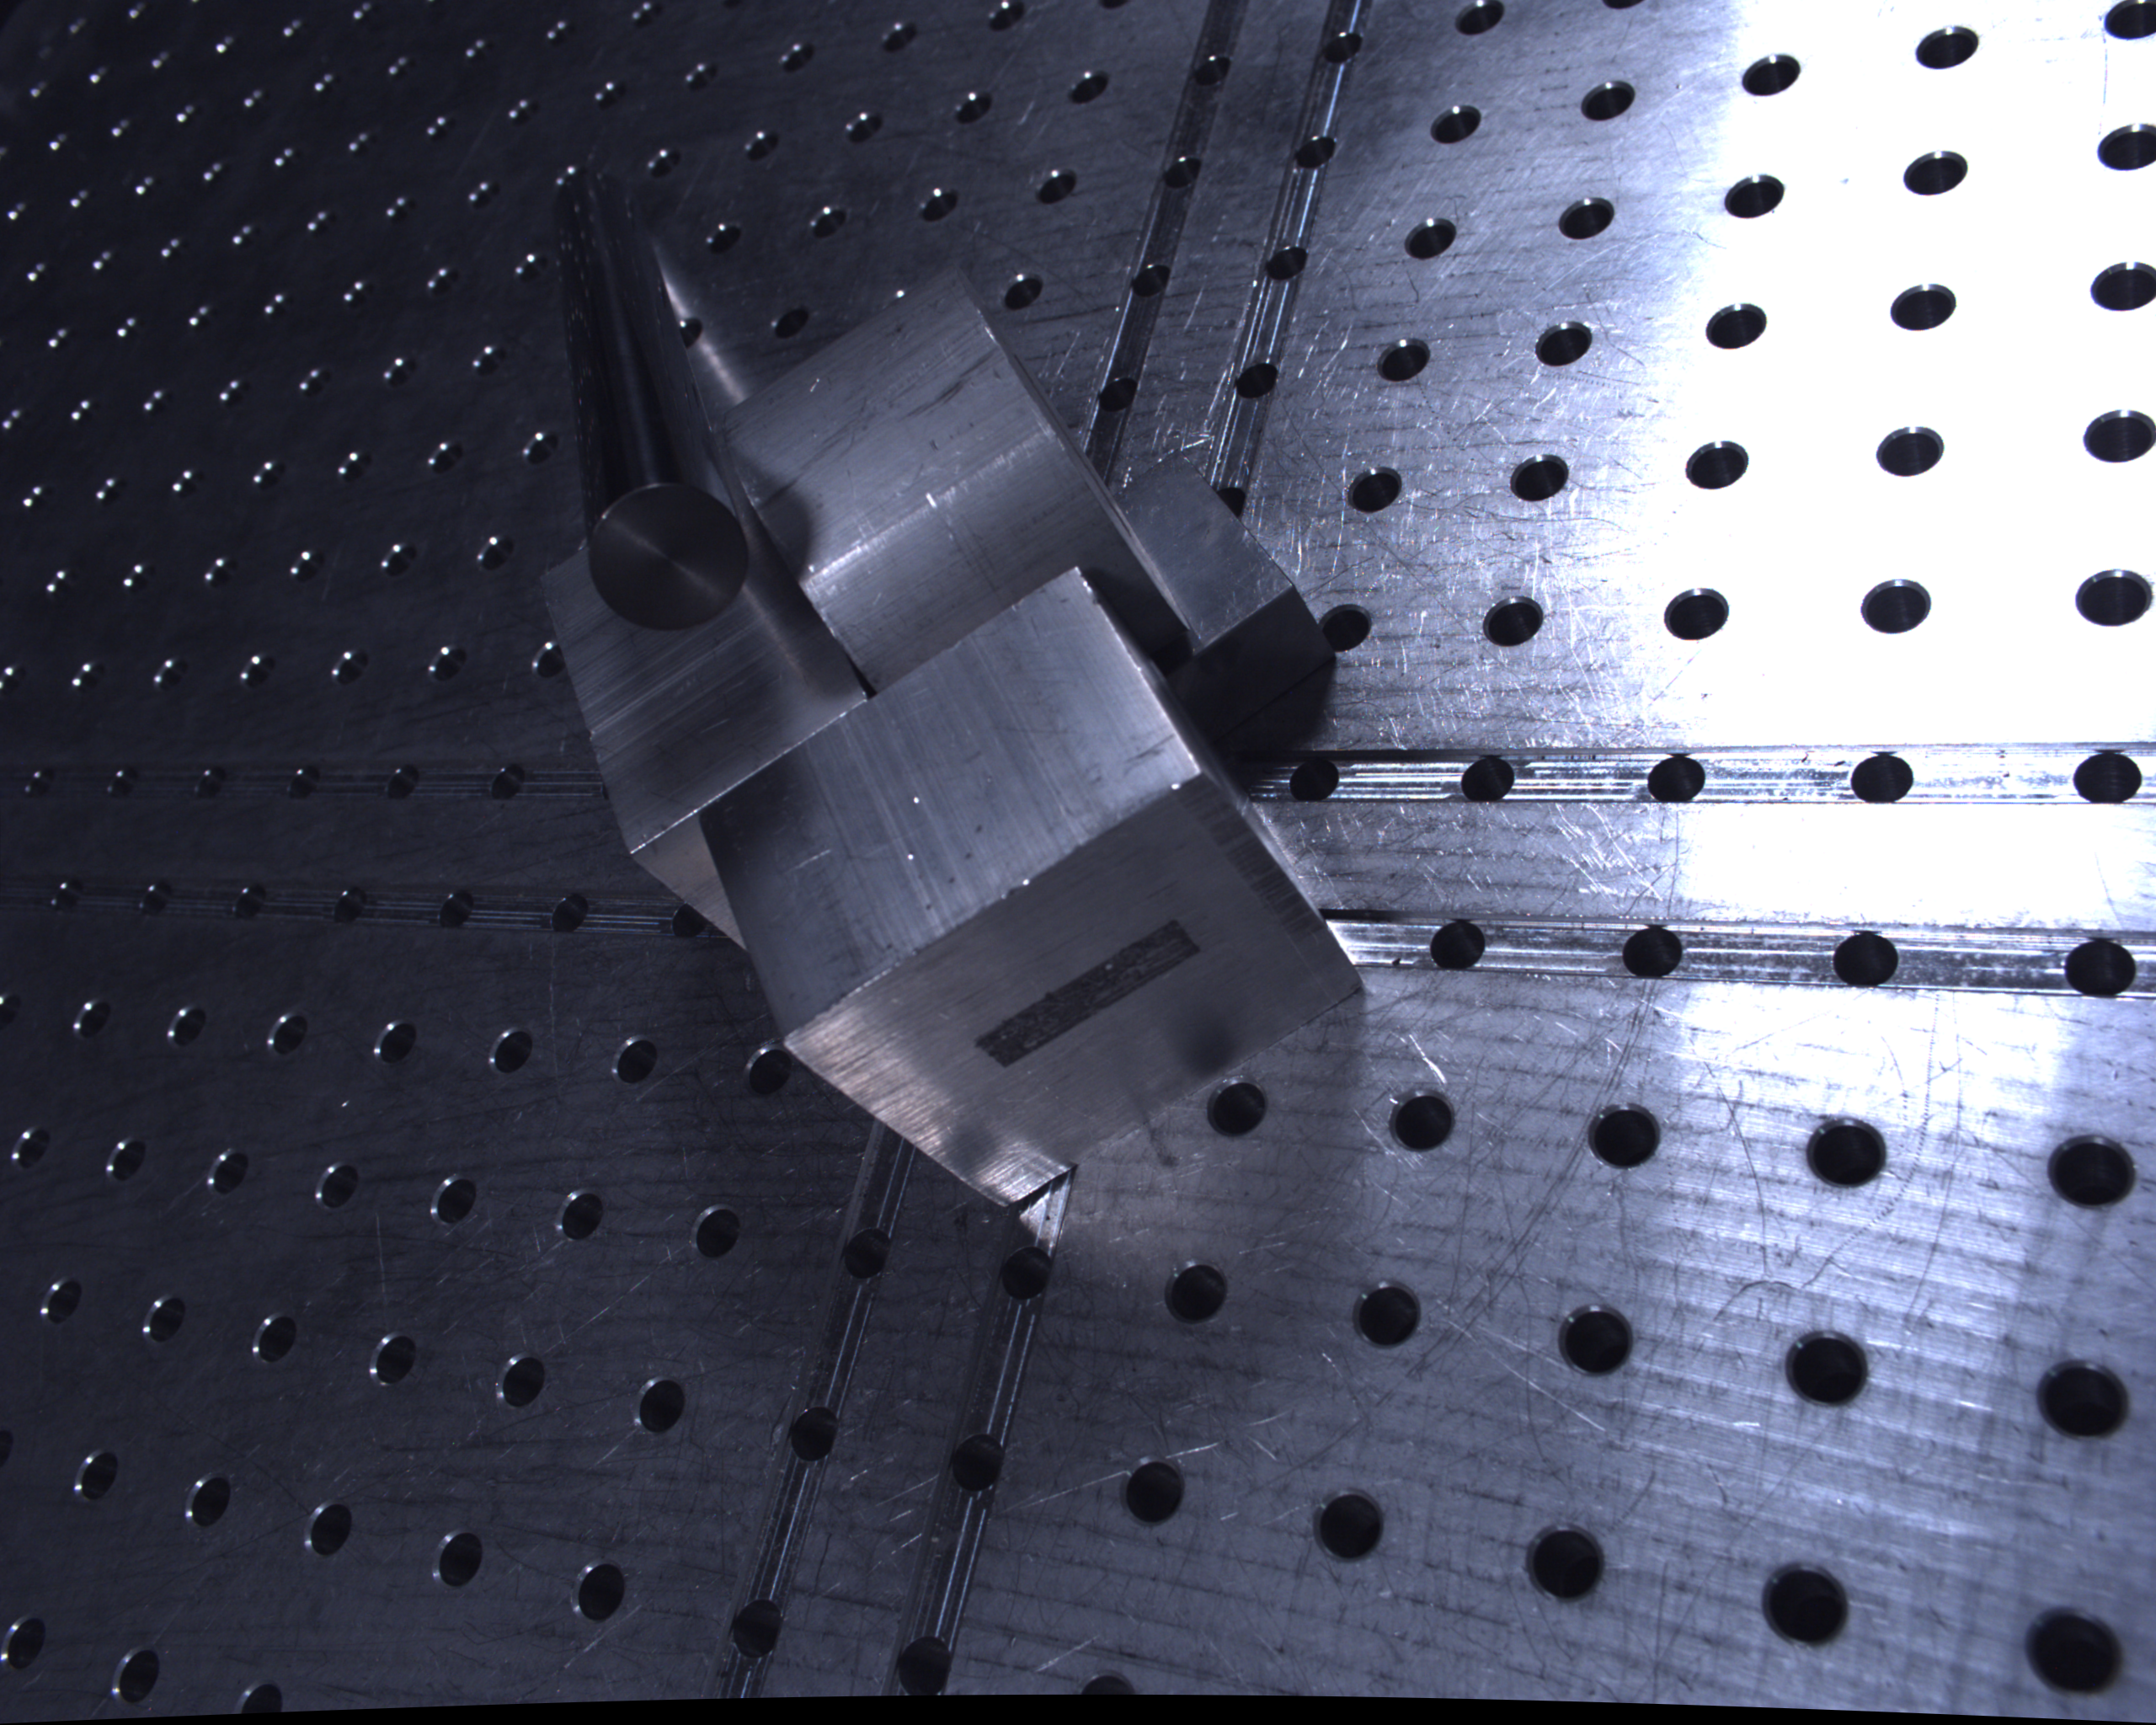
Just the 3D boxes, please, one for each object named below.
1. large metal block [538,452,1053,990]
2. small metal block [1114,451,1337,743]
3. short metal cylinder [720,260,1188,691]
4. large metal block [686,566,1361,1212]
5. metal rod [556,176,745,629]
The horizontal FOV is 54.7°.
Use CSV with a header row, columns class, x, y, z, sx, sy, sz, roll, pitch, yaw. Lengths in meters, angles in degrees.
class,x,y,z,sx,sy,sz,roll,pitch,yaw
large metal block,-0.054,-0.023,0.415,0.050,0.080,0.080,-33,52,7
small metal block,0.016,-0.049,0.429,0.050,0.025,0.050,-36,51,4
short metal cylinder,-0.022,-0.064,0.389,0.050,0.080,0.080,-32,52,7
large metal block,-0.008,0.008,0.369,0.080,0.080,0.050,-33,52,7
metal rod,-0.101,-0.116,0.463,0.025,0.025,0.300,-35,30,4
